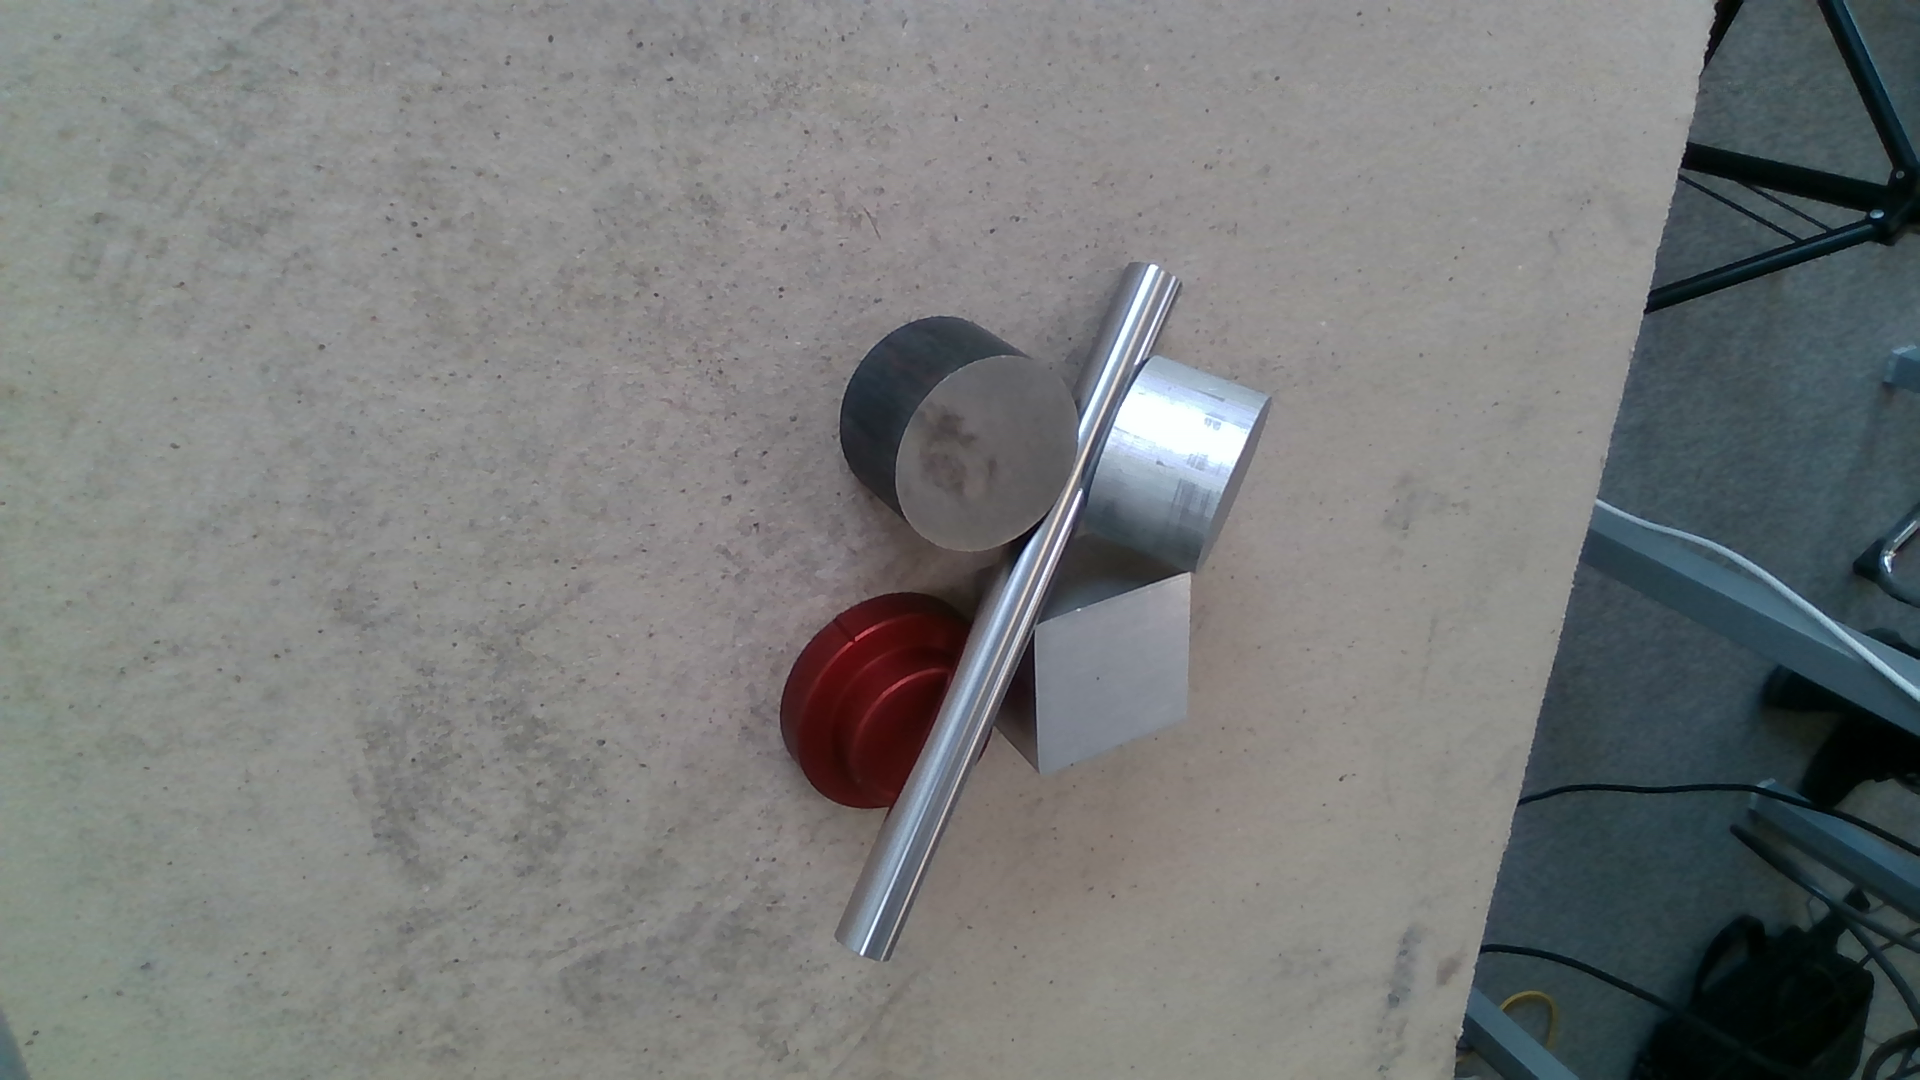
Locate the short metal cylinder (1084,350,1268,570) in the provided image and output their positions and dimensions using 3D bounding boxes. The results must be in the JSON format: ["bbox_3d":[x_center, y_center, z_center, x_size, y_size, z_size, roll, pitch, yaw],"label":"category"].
[{"bbox_3d":[0.092,-0.034,0.579,0.080,0.050,0.080,-59,165,-27],"label":"short metal cylinder"}]

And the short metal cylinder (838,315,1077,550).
[{"bbox_3d":[-0.001,-0.043,0.543,0.080,0.050,0.080,-14,122,-25],"label":"short metal cylinder"}]

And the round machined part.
[{"bbox_3d":[-0.025,0.075,0.595,0.098,0.042,0.098,-14,122,-25],"label":"round machined part"}]

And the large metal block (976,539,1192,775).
[{"bbox_3d":[0.056,0.048,0.623,0.080,0.050,0.080,-17,123,-23],"label":"large metal block"}]

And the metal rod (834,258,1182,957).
[{"bbox_3d":[0.020,0.026,0.564,0.025,0.025,0.300,26,87,-38],"label":"metal rod"}]
